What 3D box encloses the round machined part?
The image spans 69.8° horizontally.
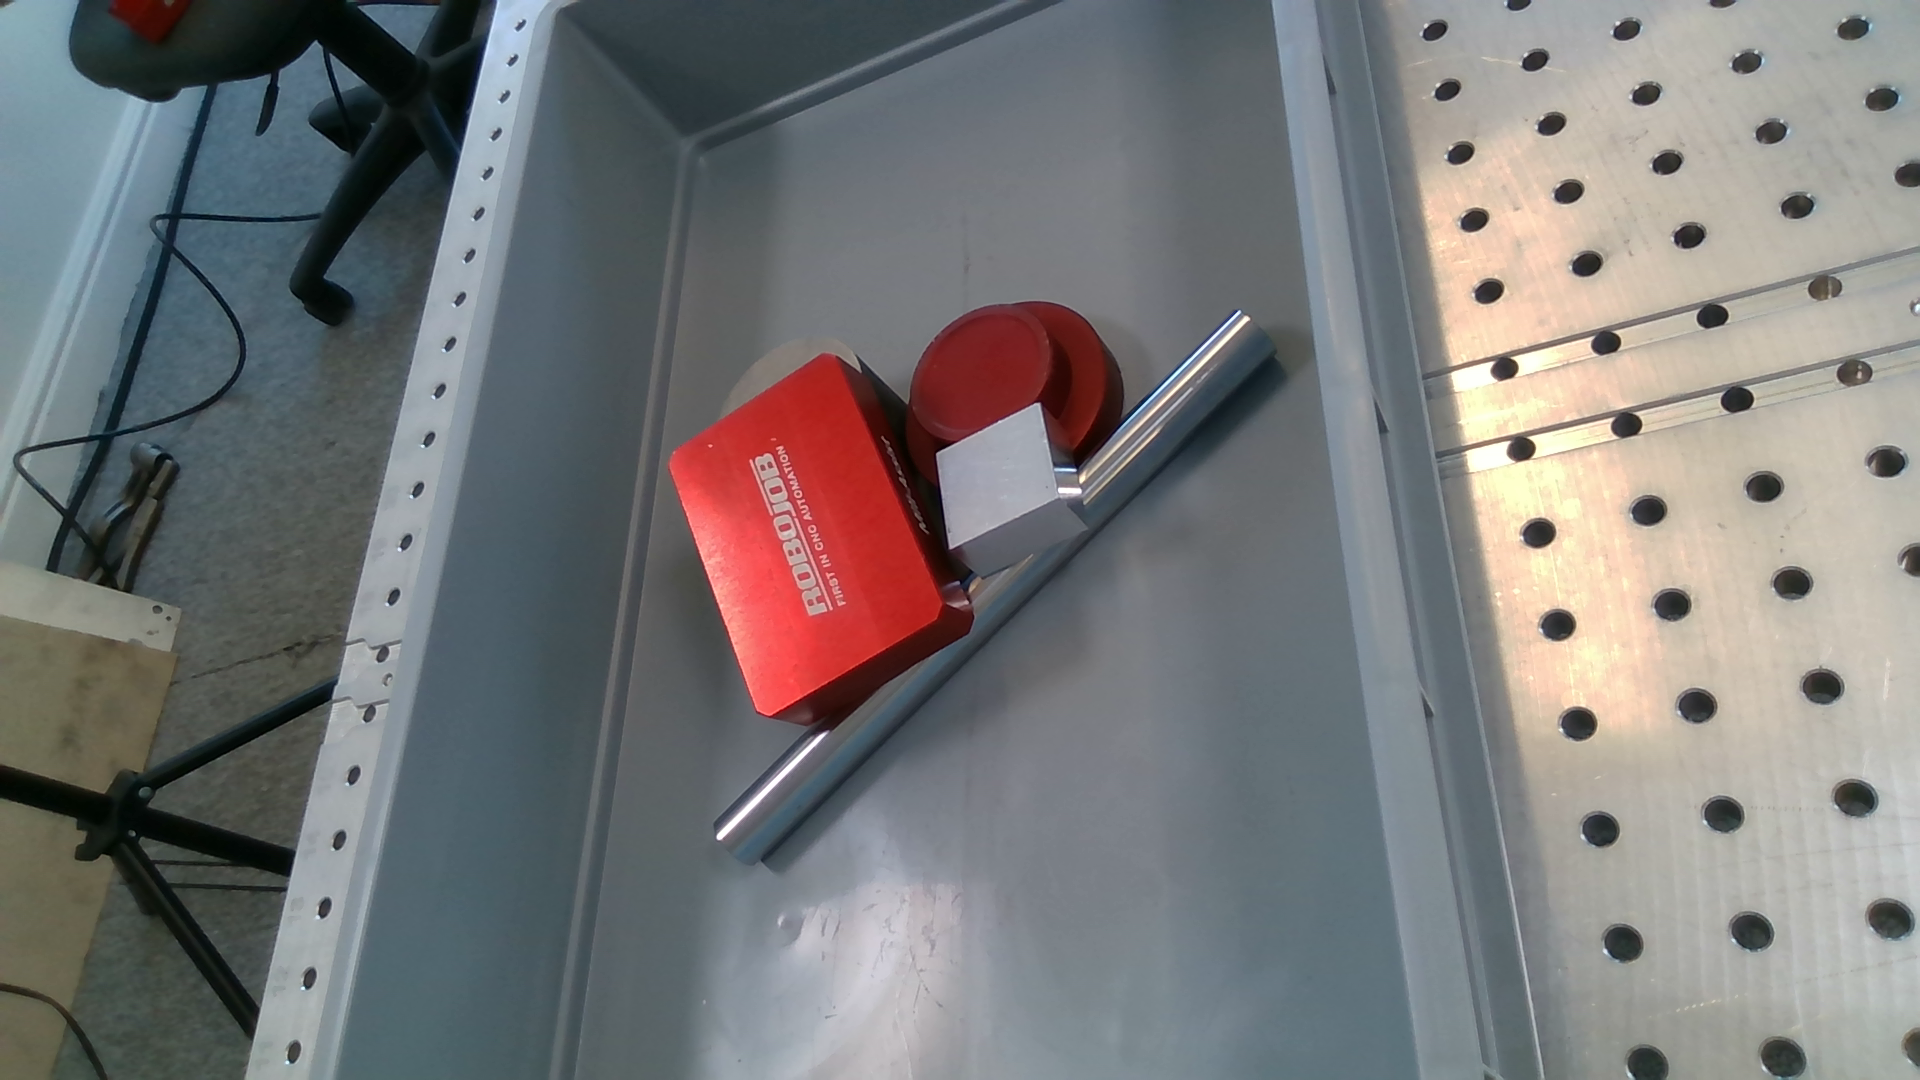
[{"bbox_3d":[0.017,-0.063,0.595,0.098,0.042,0.098,-15,57,25],"label":"round machined part"}]

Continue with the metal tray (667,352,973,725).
[{"bbox_3d":[-0.060,-0.001,0.569,0.090,0.030,0.130,-31,66,15],"label":"metal tray"}]

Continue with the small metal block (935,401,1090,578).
[{"bbox_3d":[0.020,-0.020,0.552,0.050,0.025,0.050,-25,50,21],"label":"small metal block"}]

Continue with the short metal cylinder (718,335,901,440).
[{"bbox_3d":[-0.066,-0.047,0.633,0.080,0.050,0.080,-14,59,25],"label":"short metal cylinder"}]

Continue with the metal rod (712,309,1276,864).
[{"bbox_3d":[0.012,0.021,0.566,0.300,0.025,0.025,-45,51,4],"label":"metal rod"}]
